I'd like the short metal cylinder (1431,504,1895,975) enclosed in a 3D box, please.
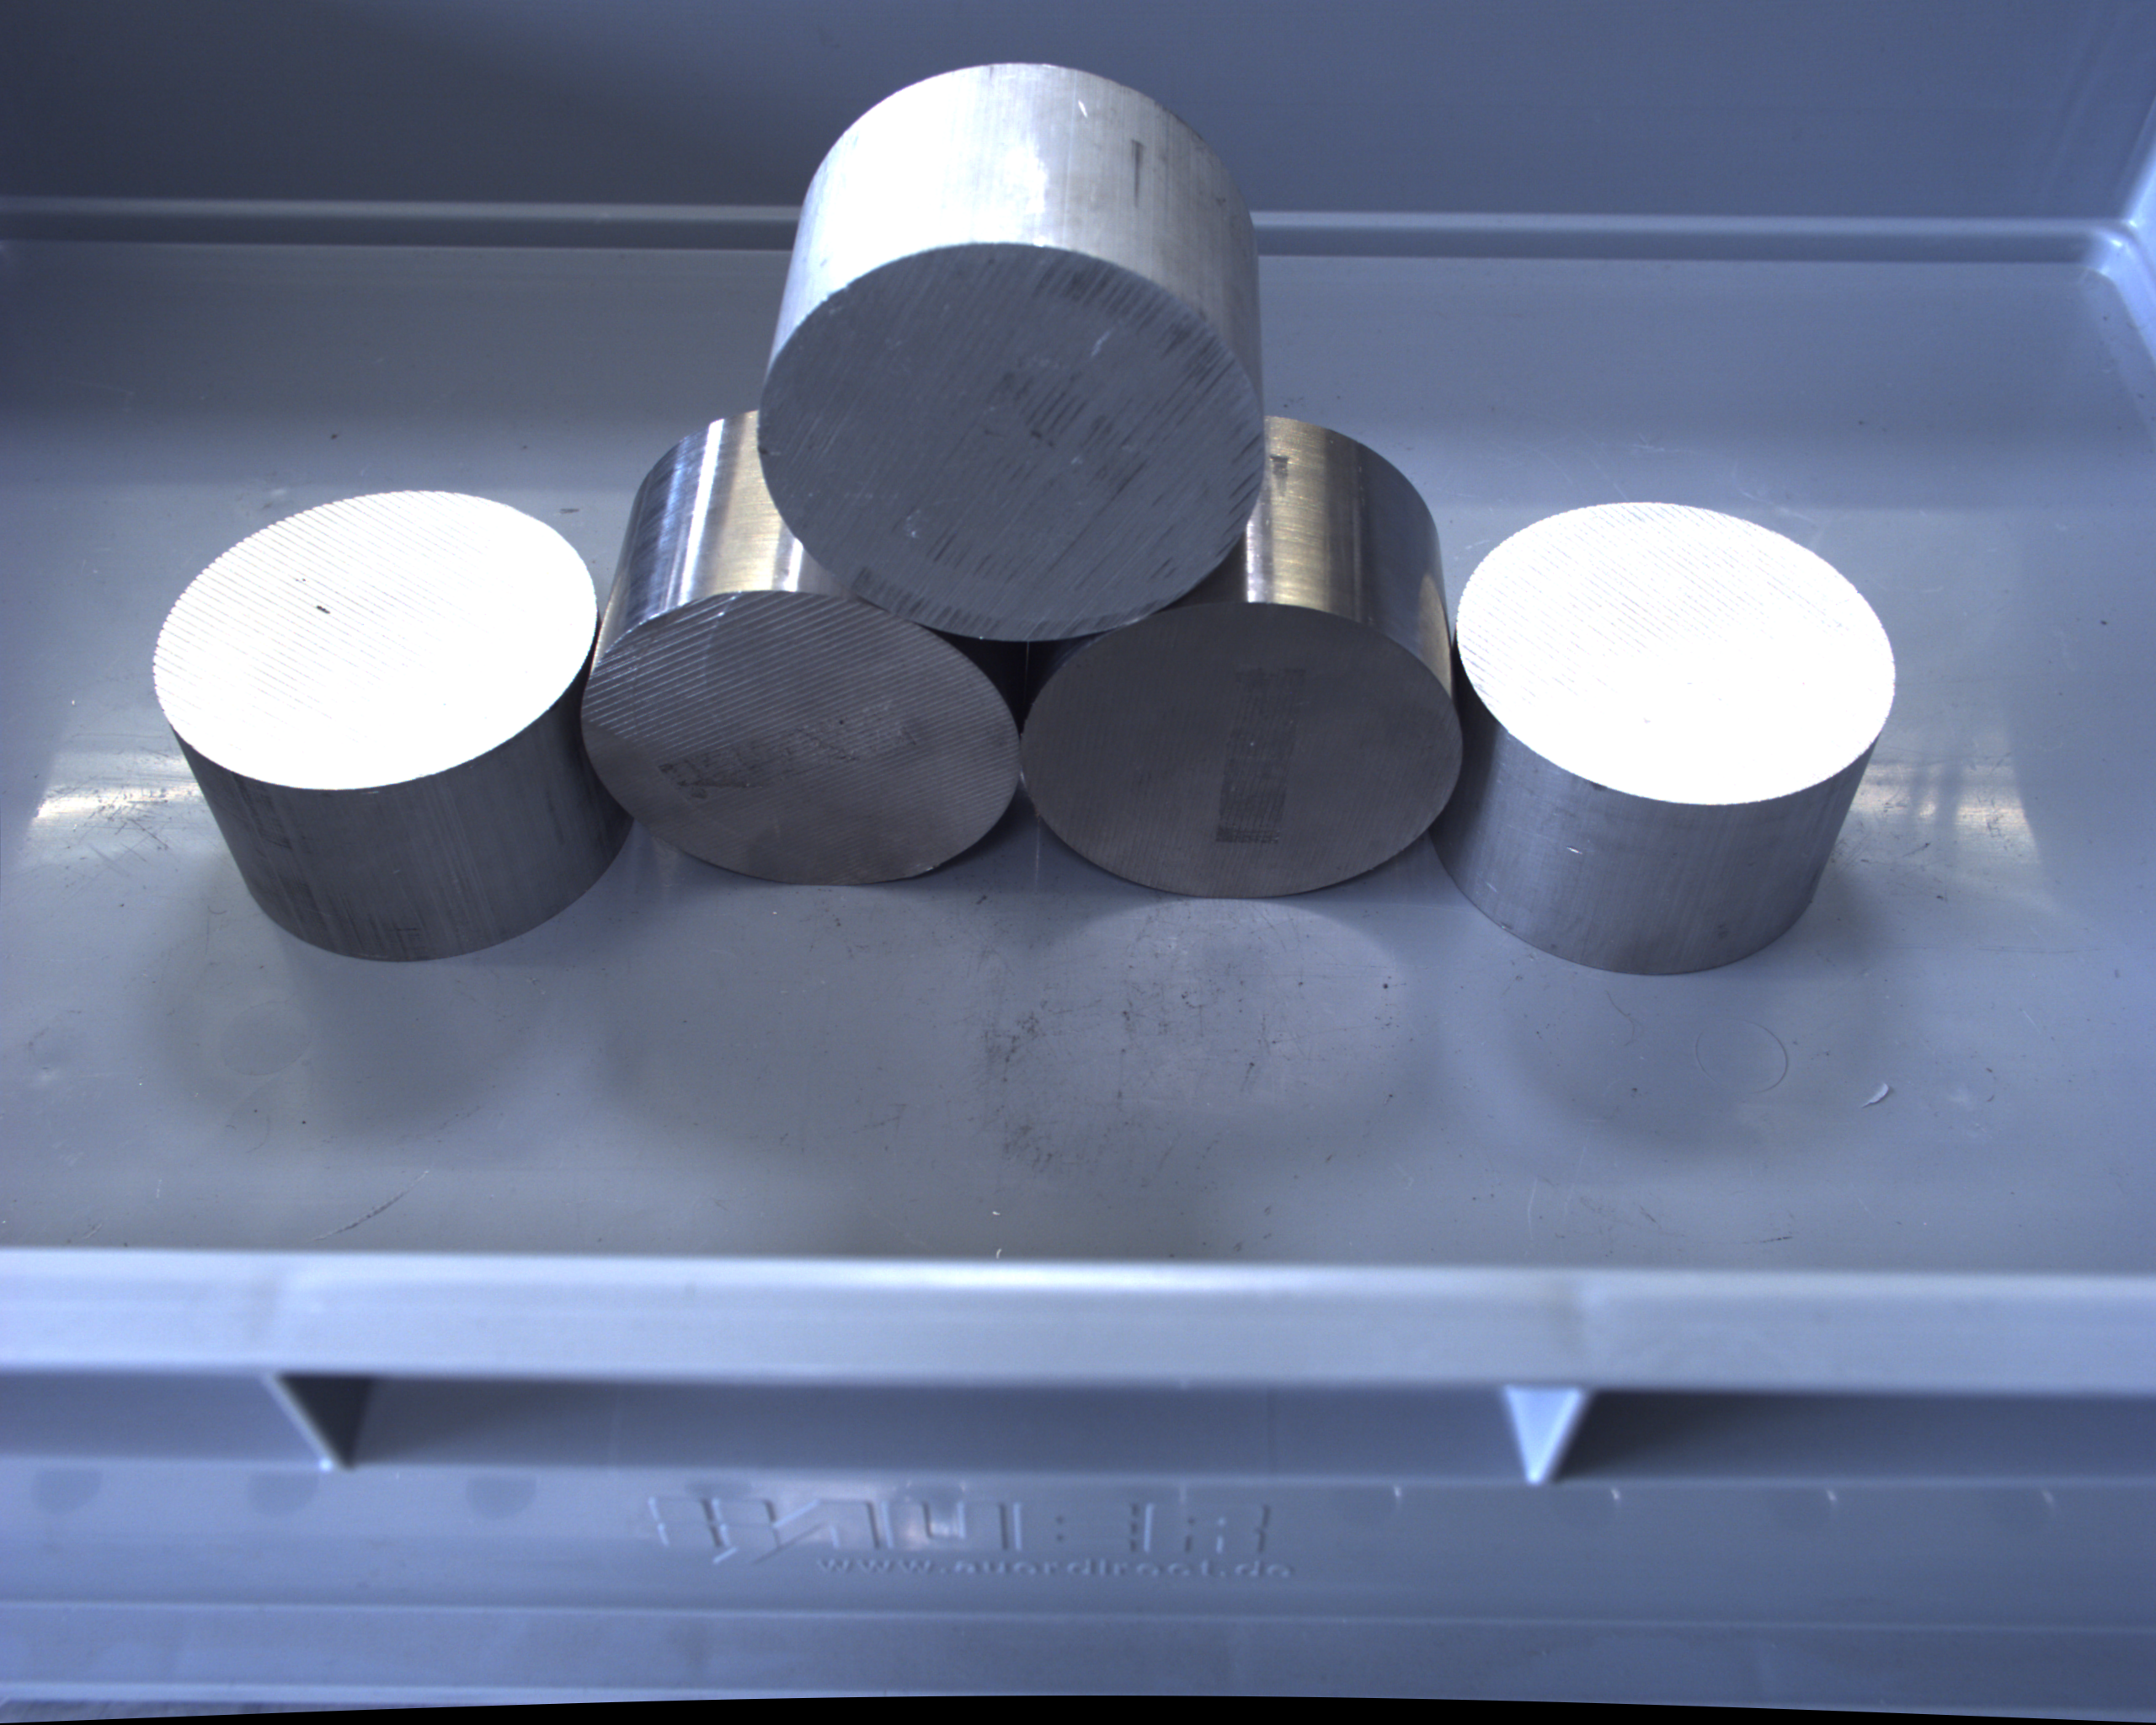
[{"bbox_3d":[0.111,-0.025,0.408,0.080,0.050,0.080,0,50,0],"label":"short metal cylinder"}]

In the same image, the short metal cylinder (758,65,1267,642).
[{"bbox_3d":[-0.010,-0.083,0.347,0.080,0.080,0.050,1,50,1],"label":"short metal cylinder"}]

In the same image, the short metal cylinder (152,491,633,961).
[{"bbox_3d":[-0.131,-0.027,0.409,0.080,0.050,0.080,0,50,0],"label":"short metal cylinder"}]

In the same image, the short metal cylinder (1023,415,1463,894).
[{"bbox_3d":[0.031,-0.038,0.399,0.080,0.080,0.050,1,50,1],"label":"short metal cylinder"}]

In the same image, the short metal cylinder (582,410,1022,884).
[{"bbox_3d":[-0.050,-0.040,0.400,0.080,0.080,0.050,1,50,1],"label":"short metal cylinder"}]
